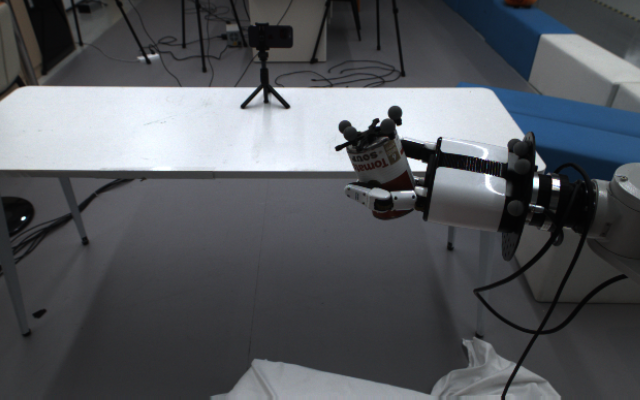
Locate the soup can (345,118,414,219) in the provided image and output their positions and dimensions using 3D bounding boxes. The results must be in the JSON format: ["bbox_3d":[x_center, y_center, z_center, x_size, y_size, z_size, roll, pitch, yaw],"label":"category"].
[{"bbox_3d":[0.083,-0.036,0.618,0.067,0.101,0.067,-21,24,10],"label":"soup can"}]
